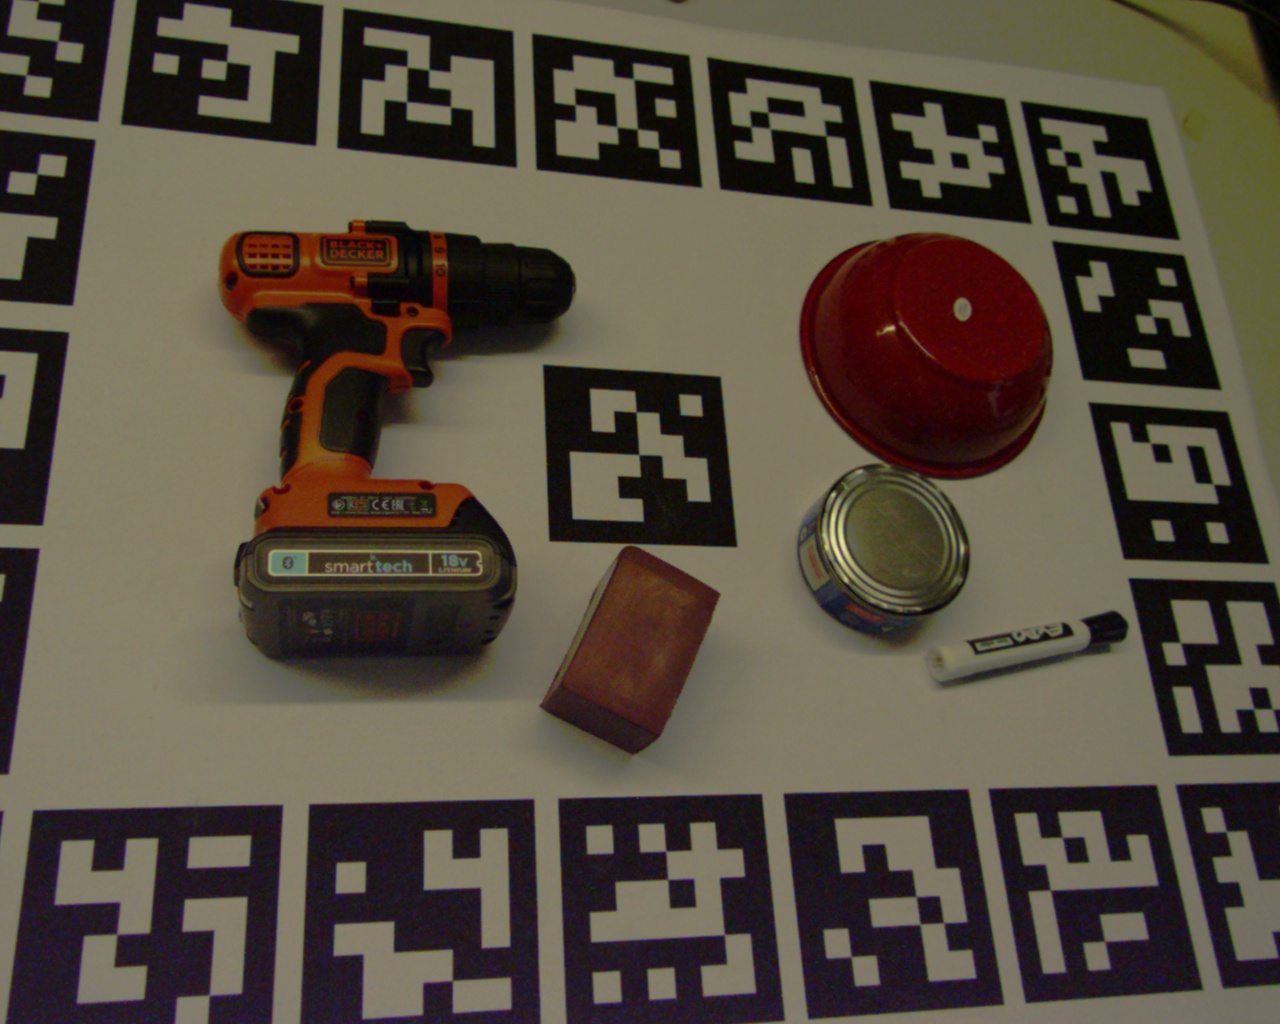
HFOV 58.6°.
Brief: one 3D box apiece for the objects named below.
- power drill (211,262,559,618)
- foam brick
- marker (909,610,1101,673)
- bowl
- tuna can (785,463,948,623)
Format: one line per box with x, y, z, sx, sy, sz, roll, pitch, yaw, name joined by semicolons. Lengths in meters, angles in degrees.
-0.126;-0.041;0.586;0.183;0.057;0.188;2;66;-18;power drill
-0.010;0.070;0.578;0.051;0.053;0.078;25;66;-6;foam brick
0.209;0.072;0.644;0.120;0.020;0.020;-8;73;-18;marker
0.165;-0.101;0.695;0.161;0.055;0.162;5;61;-9;bowl
0.125;0.018;0.636;0.085;0.034;0.086;6;67;-15;tuna can
